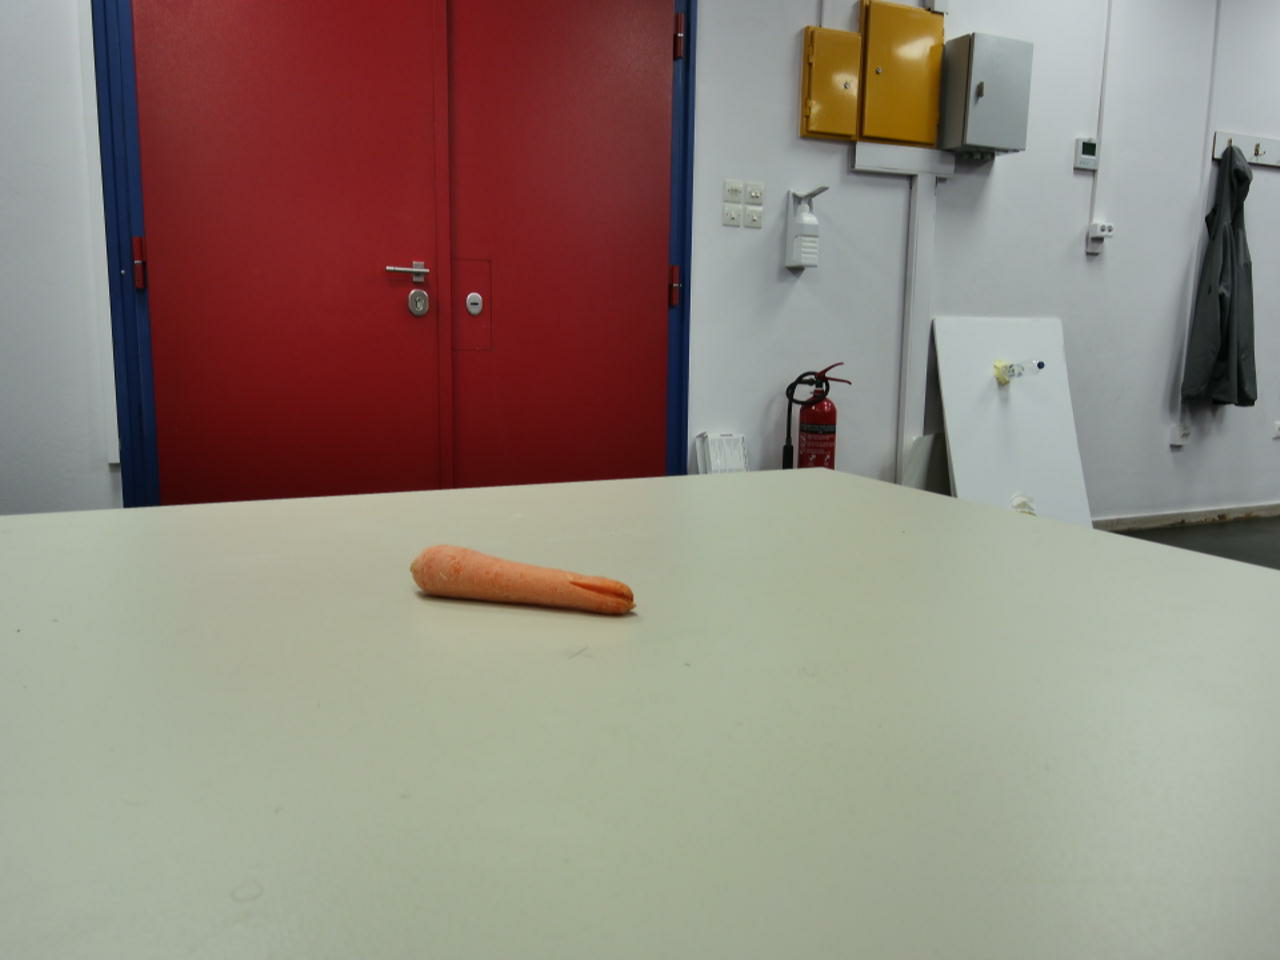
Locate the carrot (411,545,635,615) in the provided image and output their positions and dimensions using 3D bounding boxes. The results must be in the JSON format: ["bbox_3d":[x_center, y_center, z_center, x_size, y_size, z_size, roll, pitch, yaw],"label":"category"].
[{"bbox_3d":[-0.068,0.055,0.557,0.136,0.032,0.030,3,7,20],"label":"carrot"}]
